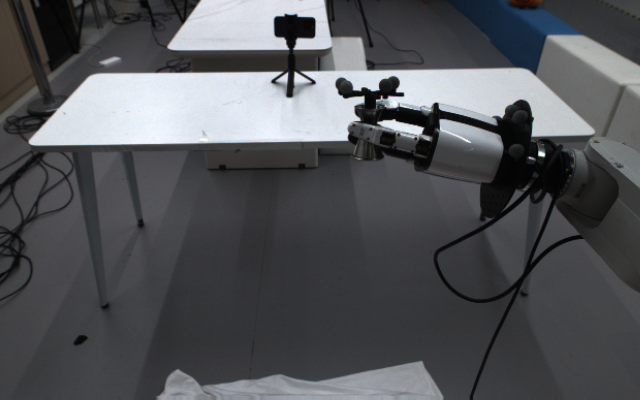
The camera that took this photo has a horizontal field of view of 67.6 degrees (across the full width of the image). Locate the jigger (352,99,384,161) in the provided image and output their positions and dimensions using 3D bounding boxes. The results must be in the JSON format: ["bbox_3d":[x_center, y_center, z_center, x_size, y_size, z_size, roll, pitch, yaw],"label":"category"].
[{"bbox_3d":[0.064,-0.090,0.647,0.043,0.071,0.043,0,21,0],"label":"jigger"}]
